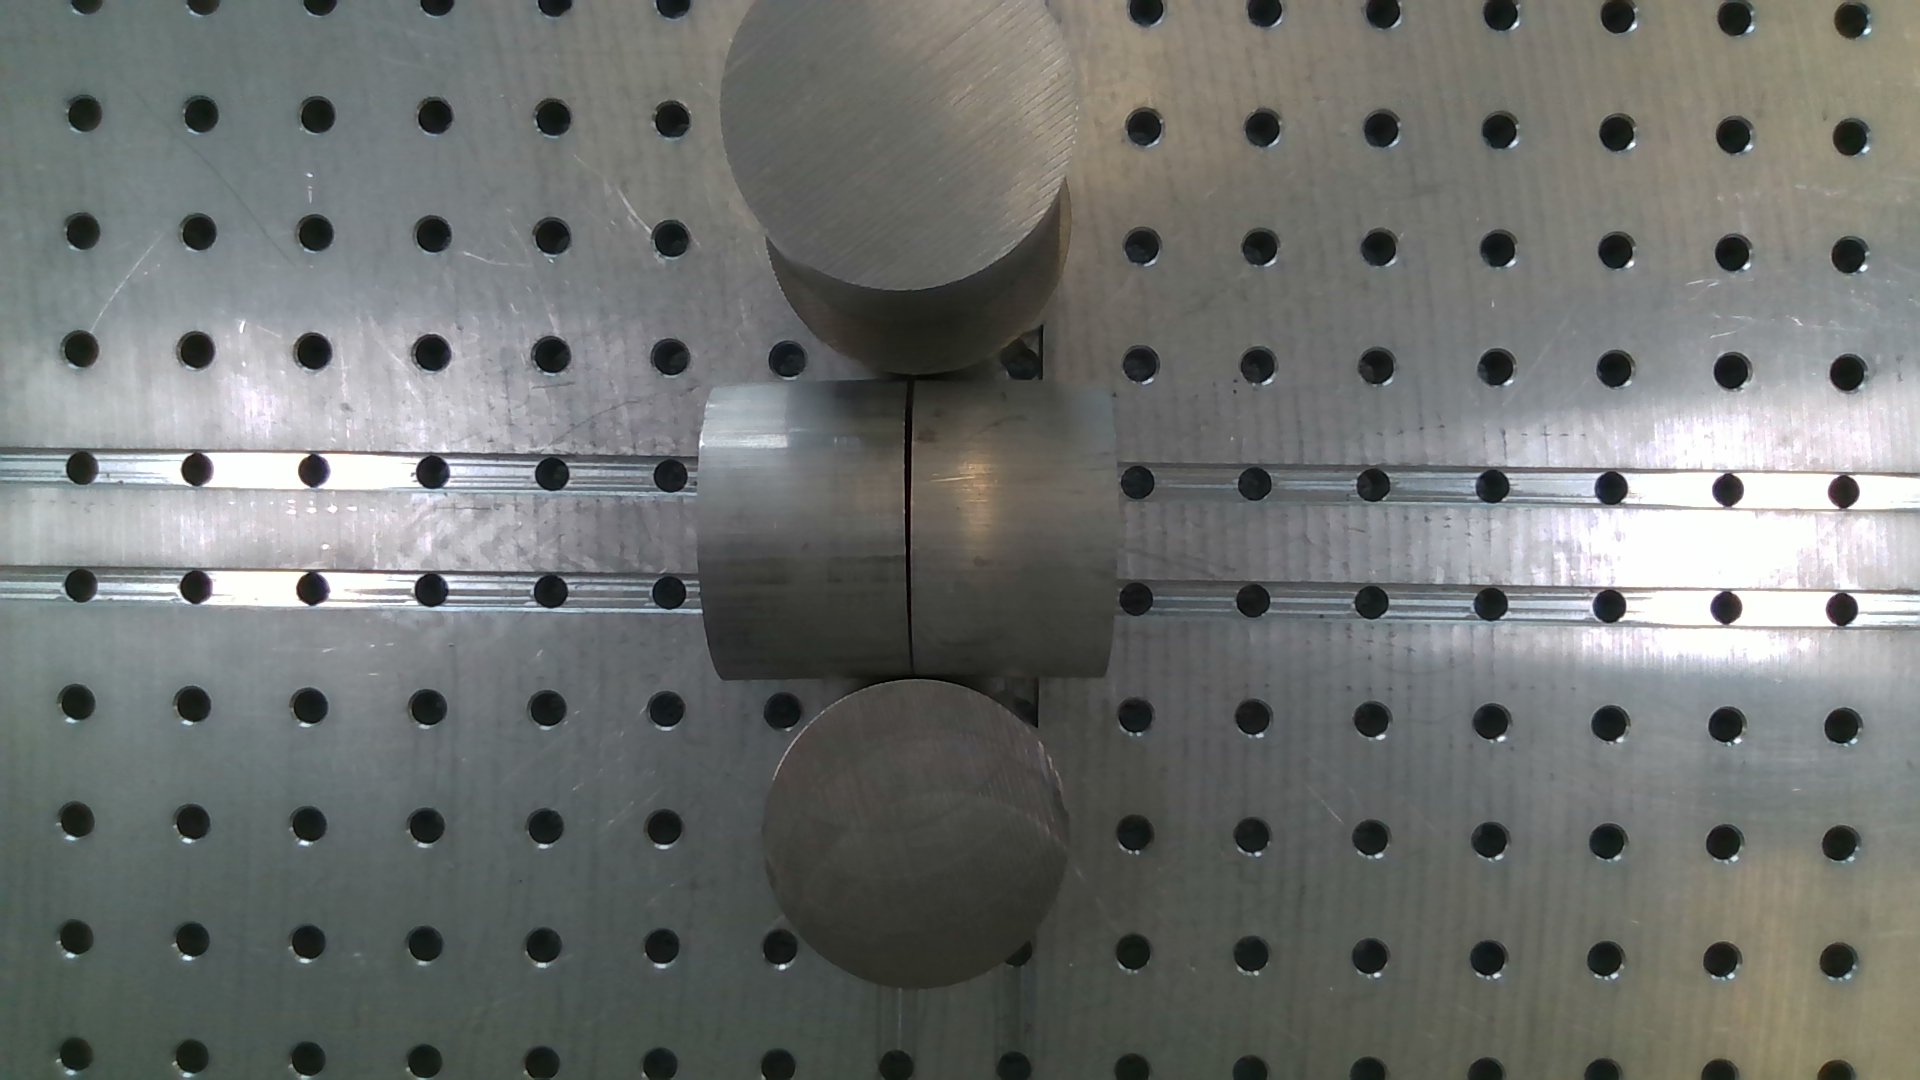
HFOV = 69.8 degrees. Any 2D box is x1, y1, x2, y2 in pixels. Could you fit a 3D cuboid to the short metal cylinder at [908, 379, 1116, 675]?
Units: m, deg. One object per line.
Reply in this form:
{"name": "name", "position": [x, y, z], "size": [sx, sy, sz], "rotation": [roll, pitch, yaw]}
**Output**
{"name": "short metal cylinder", "position": [0.013, -0.004, 0.370], "size": [0.050, 0.080, 0.080], "rotation": [1, 90, 1]}

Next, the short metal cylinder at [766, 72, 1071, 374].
{"name": "short metal cylinder", "position": [-0.011, -0.084, 0.385], "size": [0.080, 0.050, 0.080], "rotation": [0, 90, 0]}

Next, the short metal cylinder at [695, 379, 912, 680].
{"name": "short metal cylinder", "position": [-0.039, -0.003, 0.370], "size": [0.050, 0.080, 0.080], "rotation": [-1, 90, 0]}

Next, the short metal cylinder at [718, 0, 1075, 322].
{"name": "short metal cylinder", "position": [-0.014, -0.097, 0.333], "size": [0.080, 0.050, 0.080], "rotation": [0, 90, 0]}

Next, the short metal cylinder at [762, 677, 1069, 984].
{"name": "short metal cylinder", "position": [-0.012, 0.076, 0.385], "size": [0.080, 0.050, 0.080], "rotation": [0, 90, 0]}
